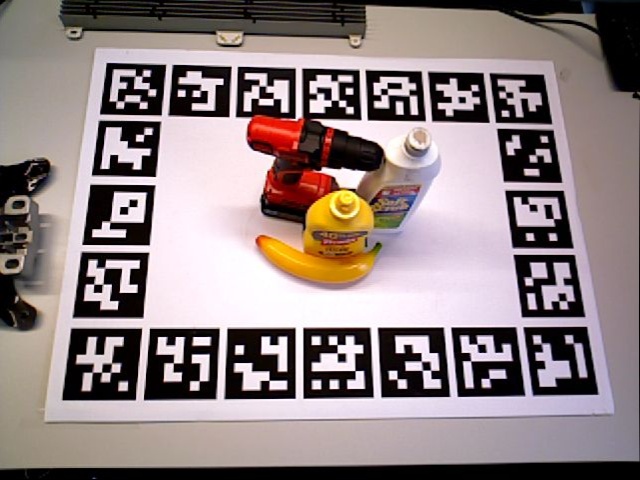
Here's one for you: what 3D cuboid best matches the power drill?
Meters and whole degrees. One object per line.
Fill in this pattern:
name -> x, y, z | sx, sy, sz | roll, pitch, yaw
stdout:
power drill -> -0.004, -0.093, 0.740 | 0.184, 0.190, 0.057 | 13, 70, -1

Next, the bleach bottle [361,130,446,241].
bleach bottle -> 0.106, -0.079, 0.738 | 0.102, 0.255, 0.067 | 4, 66, -3

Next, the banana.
banana -> 0.008, 0.037, 0.813 | 0.196, 0.039, 0.074 | 5, 74, 1

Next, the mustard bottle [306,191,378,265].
mustard bottle -> 0.034, -0.018, 0.741 | 0.095, 0.194, 0.058 | 2, 71, -4
